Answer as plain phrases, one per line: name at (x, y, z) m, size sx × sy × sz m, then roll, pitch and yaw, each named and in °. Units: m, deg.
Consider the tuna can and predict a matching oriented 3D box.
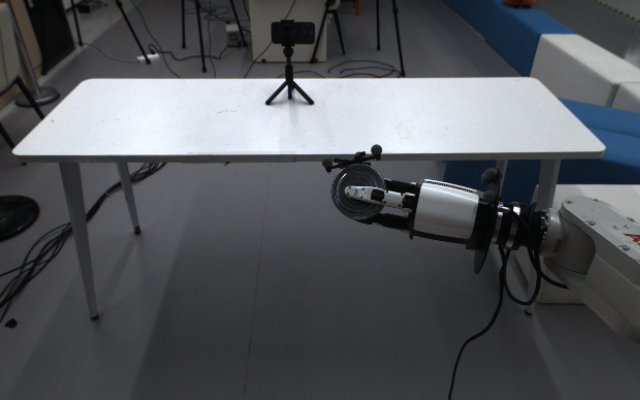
tuna can at (0.064, -0.007, 0.745) m, size 0.085 × 0.085 × 0.034 m, roll 12°, pitch -6°, yaw 15°
